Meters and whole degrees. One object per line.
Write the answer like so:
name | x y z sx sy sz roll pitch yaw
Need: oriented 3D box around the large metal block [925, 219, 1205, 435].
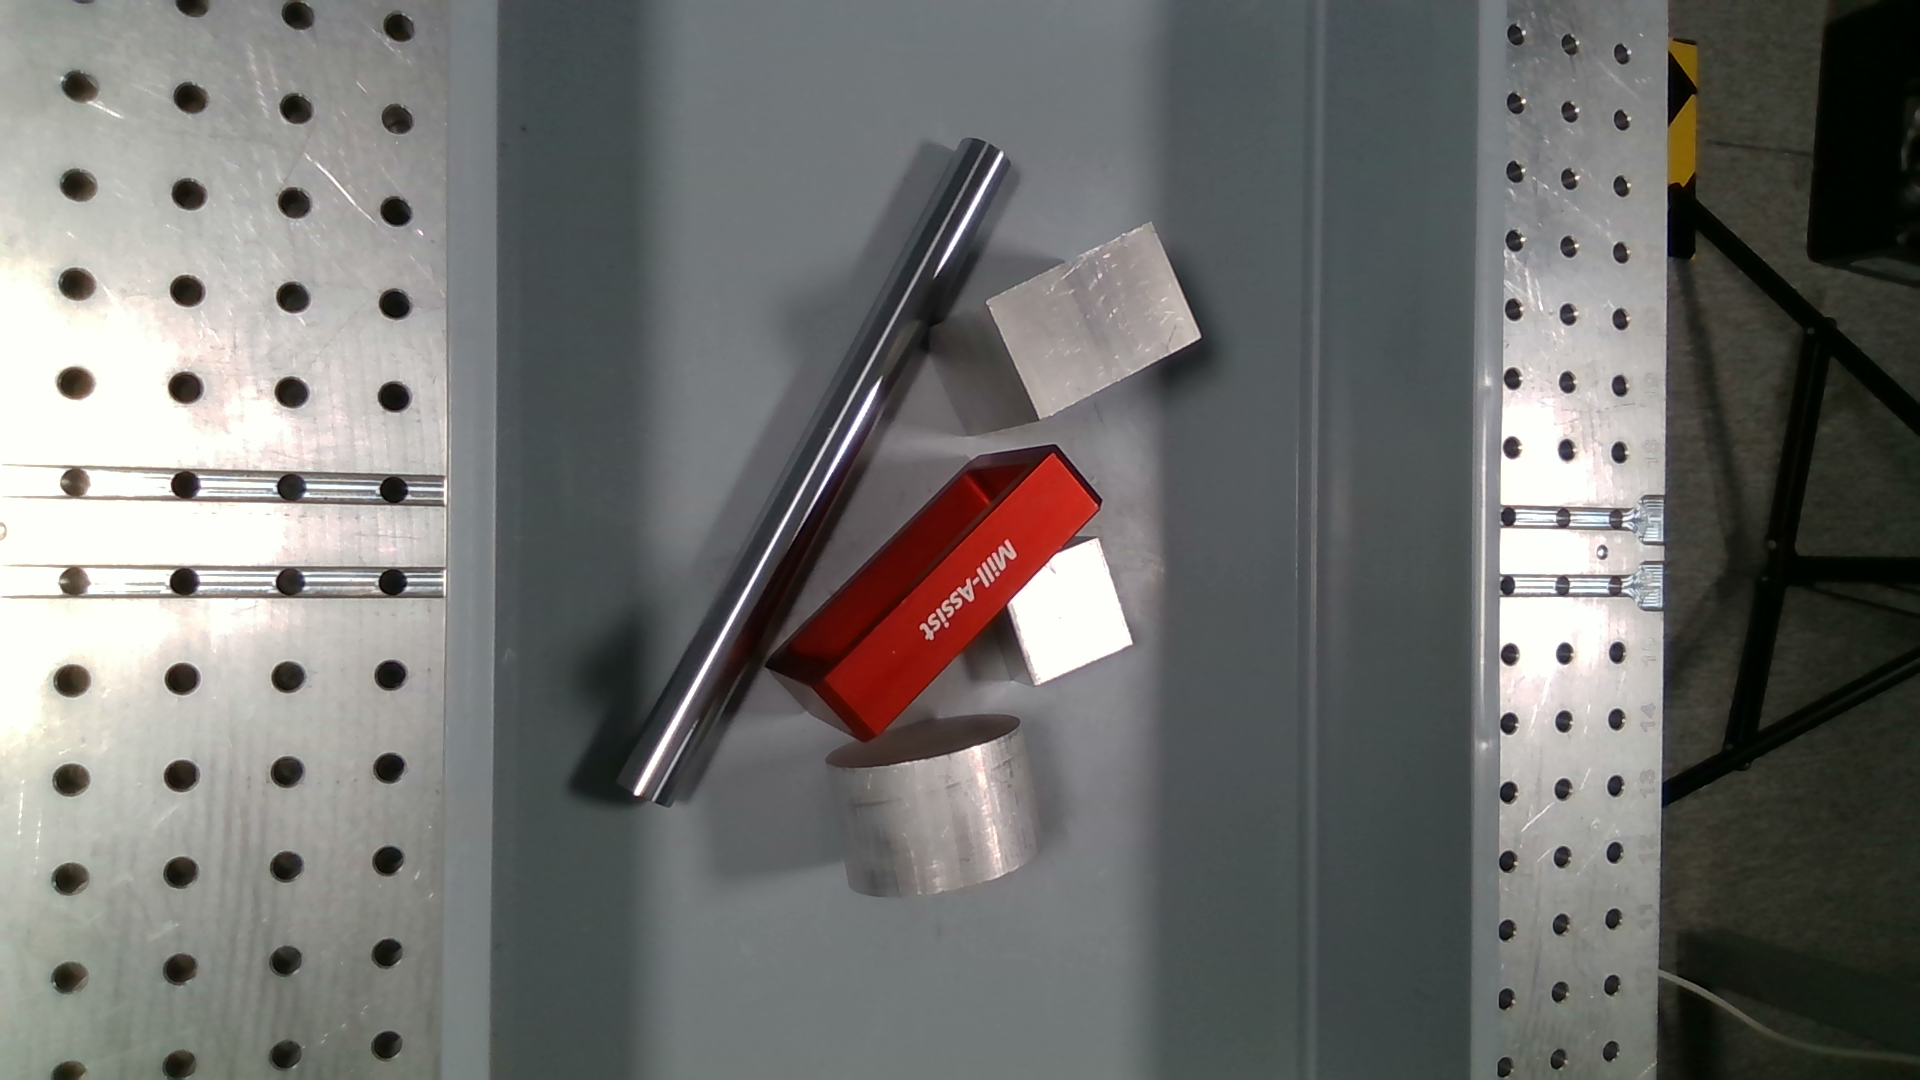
large metal block | 0.040 -0.086 0.570 0.080 0.080 0.050 -28 99 -18

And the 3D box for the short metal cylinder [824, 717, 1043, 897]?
short metal cylinder | -0.010 0.105 0.552 0.080 0.080 0.050 -12 93 -20

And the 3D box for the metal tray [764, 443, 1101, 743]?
metal tray | -0.013 0.018 0.545 0.130 0.090 0.030 -45 105 -15

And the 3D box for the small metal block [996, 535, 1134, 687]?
small metal block | 0.041 0.030 0.599 0.050 0.025 0.050 -21 97 -19

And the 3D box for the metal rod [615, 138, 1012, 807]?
metal rod | -0.056 -0.032 0.564 0.025 0.025 0.300 30 80 -18
